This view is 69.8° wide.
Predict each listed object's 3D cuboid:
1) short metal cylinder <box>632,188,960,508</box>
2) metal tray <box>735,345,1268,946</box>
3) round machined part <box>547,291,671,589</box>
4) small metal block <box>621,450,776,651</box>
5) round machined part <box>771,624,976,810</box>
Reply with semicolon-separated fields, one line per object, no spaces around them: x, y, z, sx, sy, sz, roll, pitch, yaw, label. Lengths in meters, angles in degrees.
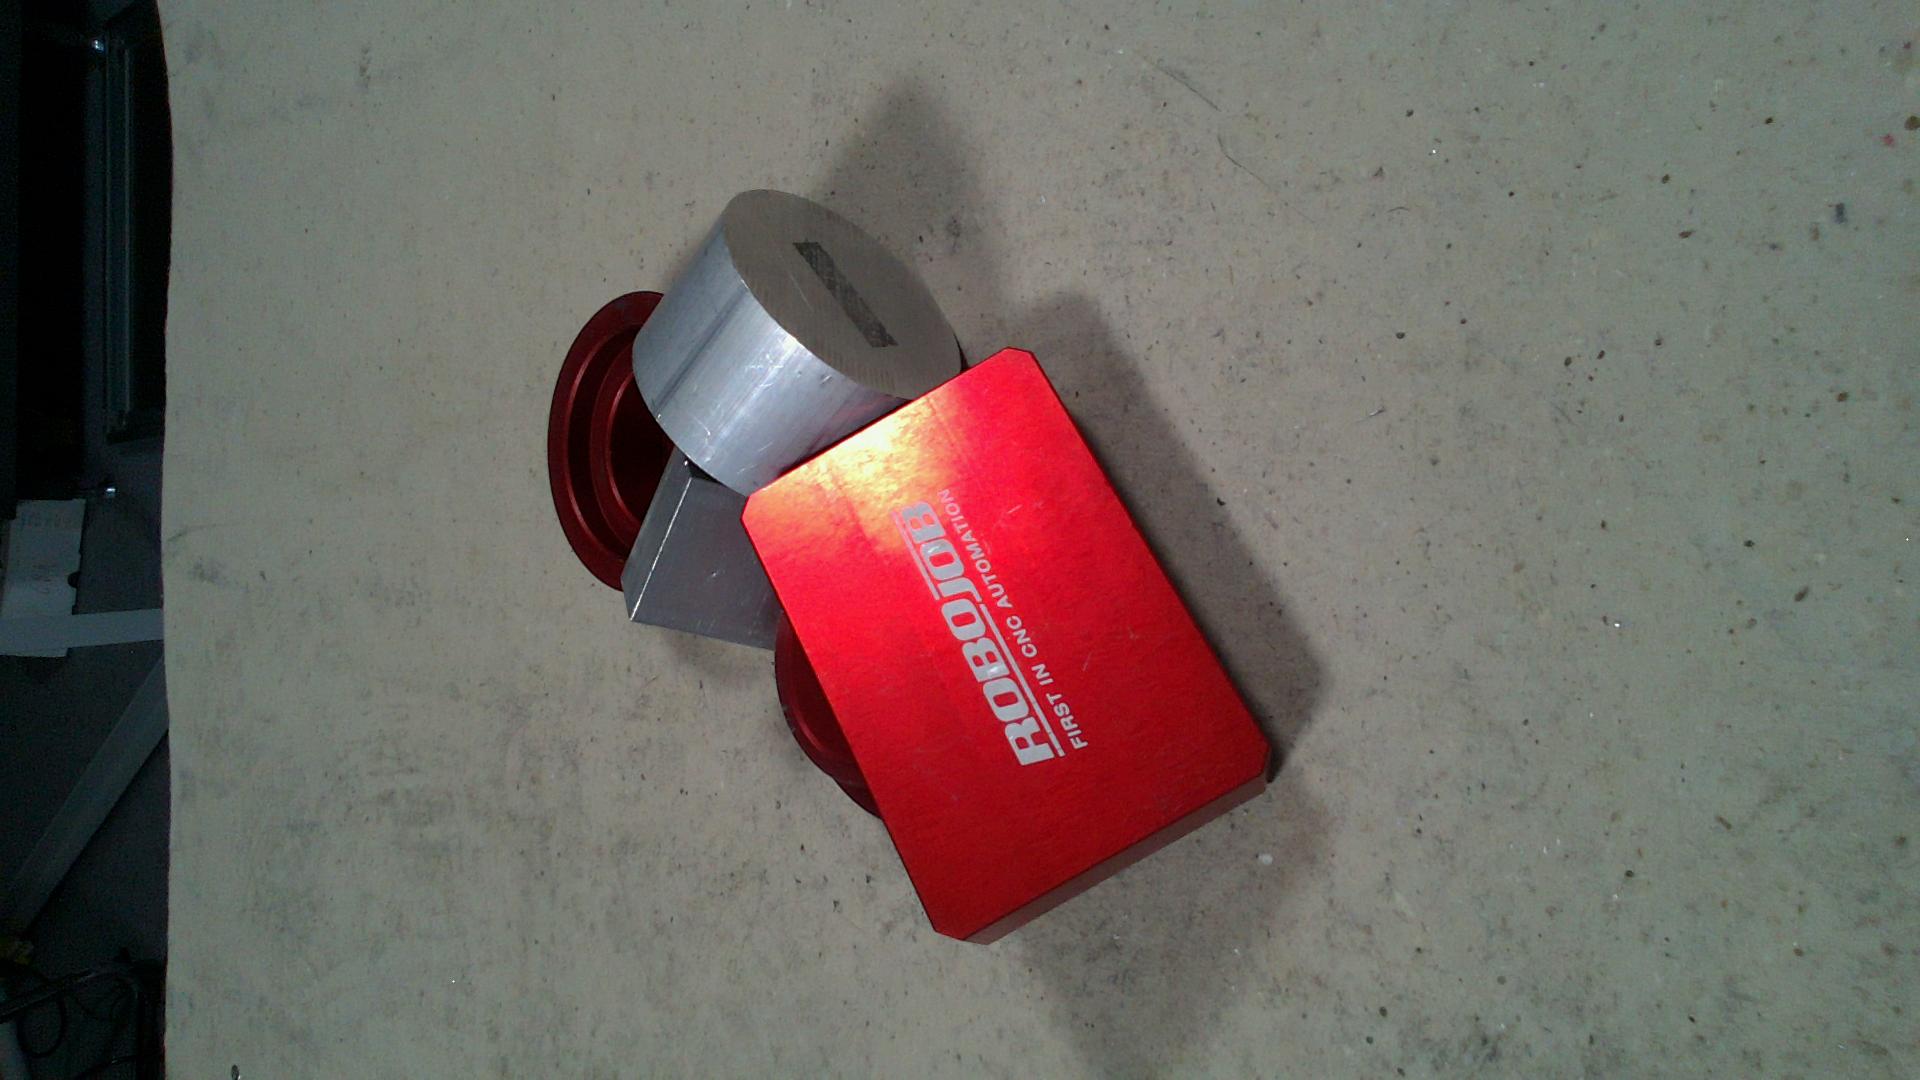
-0.047;-0.055;0.399;0.050;0.080;0.080;-45;63;31;short metal cylinder
0.009;0.025;0.355;0.090;0.030;0.130;-30;68;3;metal tray
-0.093;-0.032;0.462;0.098;0.042;0.098;0;90;40;round machined part
-0.068;0.003;0.412;0.050;0.050;0.025;-63;31;20;small metal block
-0.016;0.035;0.398;0.098;0.042;0.098;0;90;40;round machined part
